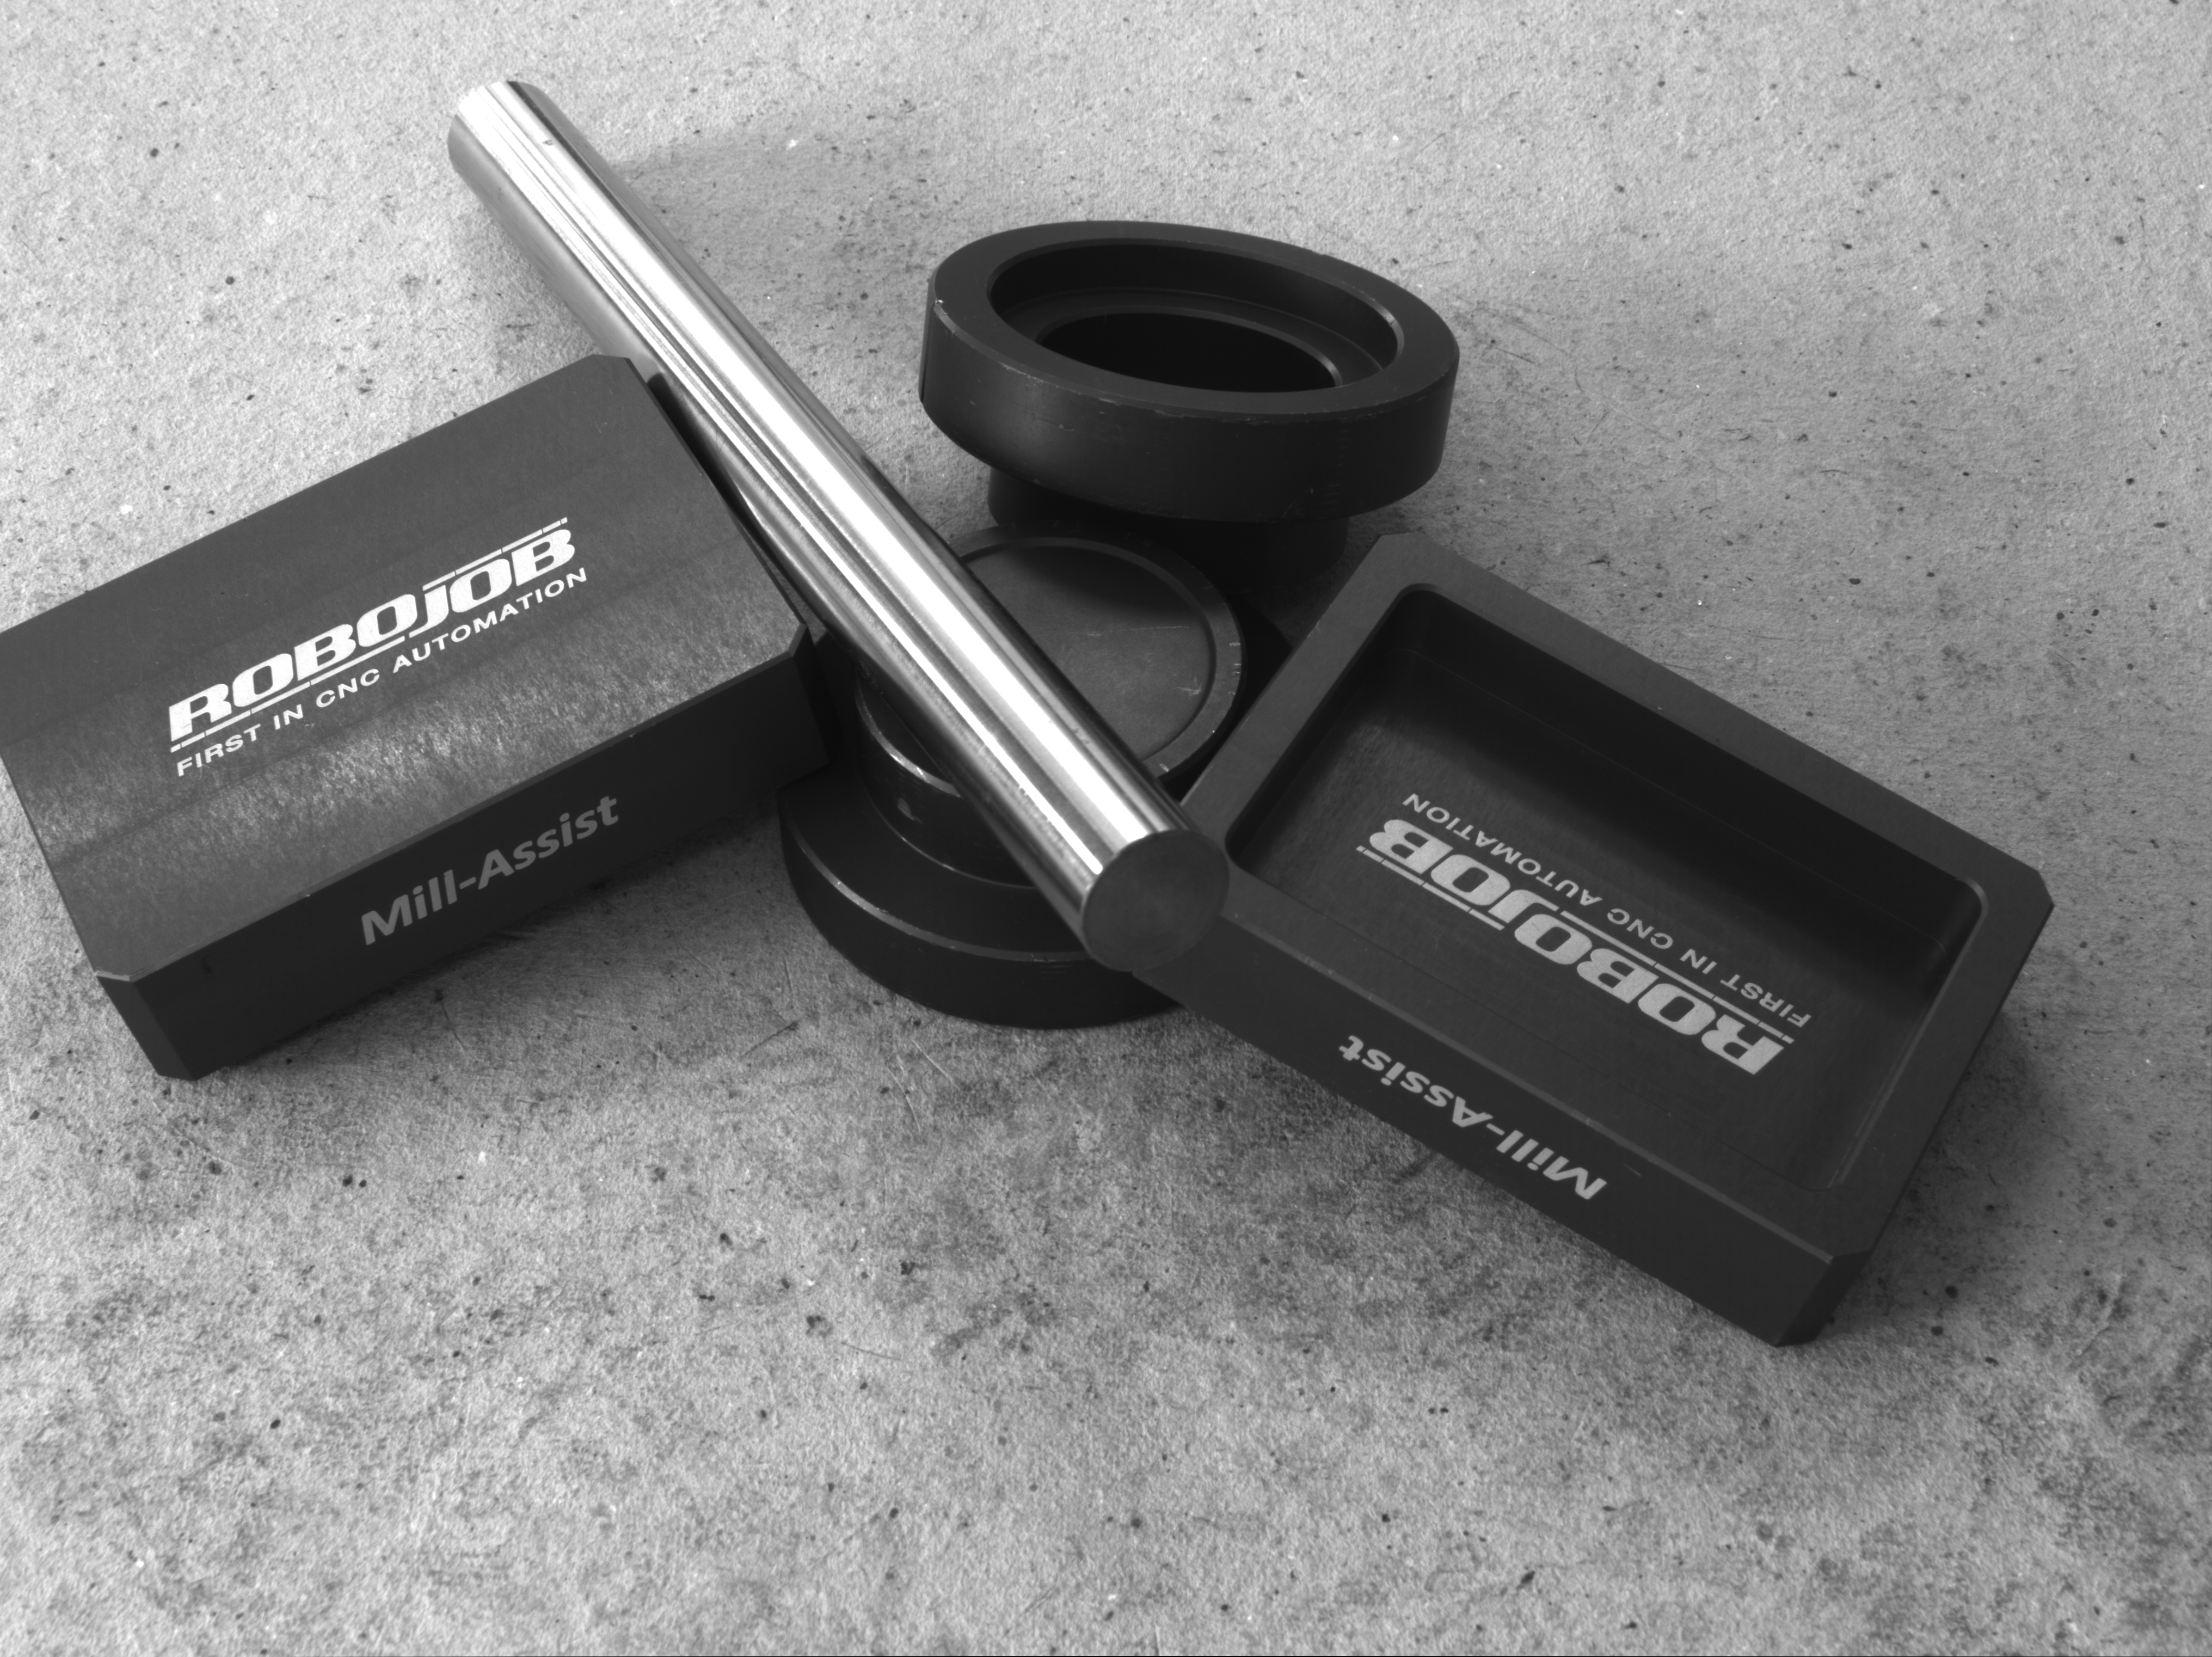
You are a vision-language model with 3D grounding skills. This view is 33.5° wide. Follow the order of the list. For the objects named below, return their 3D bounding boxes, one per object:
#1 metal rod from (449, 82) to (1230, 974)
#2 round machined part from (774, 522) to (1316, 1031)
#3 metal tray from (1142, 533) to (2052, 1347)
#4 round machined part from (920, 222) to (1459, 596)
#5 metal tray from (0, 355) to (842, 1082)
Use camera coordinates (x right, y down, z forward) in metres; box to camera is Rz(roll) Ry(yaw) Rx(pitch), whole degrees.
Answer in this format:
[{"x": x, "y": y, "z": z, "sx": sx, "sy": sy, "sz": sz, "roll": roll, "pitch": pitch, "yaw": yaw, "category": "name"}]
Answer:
[{"x": -0.059, "y": -0.066, "z": 0.655, "sx": 0.025, "sy": 0.025, "sz": 0.299, "roll": -21, "pitch": 40, "yaw": -17, "category": "metal rod"}, {"x": -0.010, "y": -0.016, "z": 0.646, "sx": 0.098, "sy": 0.042, "sz": 0.098, "roll": 0, "pitch": 50, "yaw": 0, "category": "round machined part"}, {"x": 0.080, "y": 0.016, "z": 0.612, "sx": 0.130, "sy": 0.030, "sz": 0.090, "roll": 30, "pitch": 55, "yaw": 10, "category": "metal tray"}, {"x": 0.014, "y": -0.076, "z": 0.682, "sx": 0.098, "sy": 0.042, "sz": 0.098, "roll": 6, "pitch": 28, "yaw": -3, "category": "round machined part"}, {"x": -0.124, "y": -0.022, "z": 0.644, "sx": 0.130, "sy": 0.030, "sz": 0.090, "roll": -27, "pitch": 52, "yaw": -10, "category": "metal tray"}]
